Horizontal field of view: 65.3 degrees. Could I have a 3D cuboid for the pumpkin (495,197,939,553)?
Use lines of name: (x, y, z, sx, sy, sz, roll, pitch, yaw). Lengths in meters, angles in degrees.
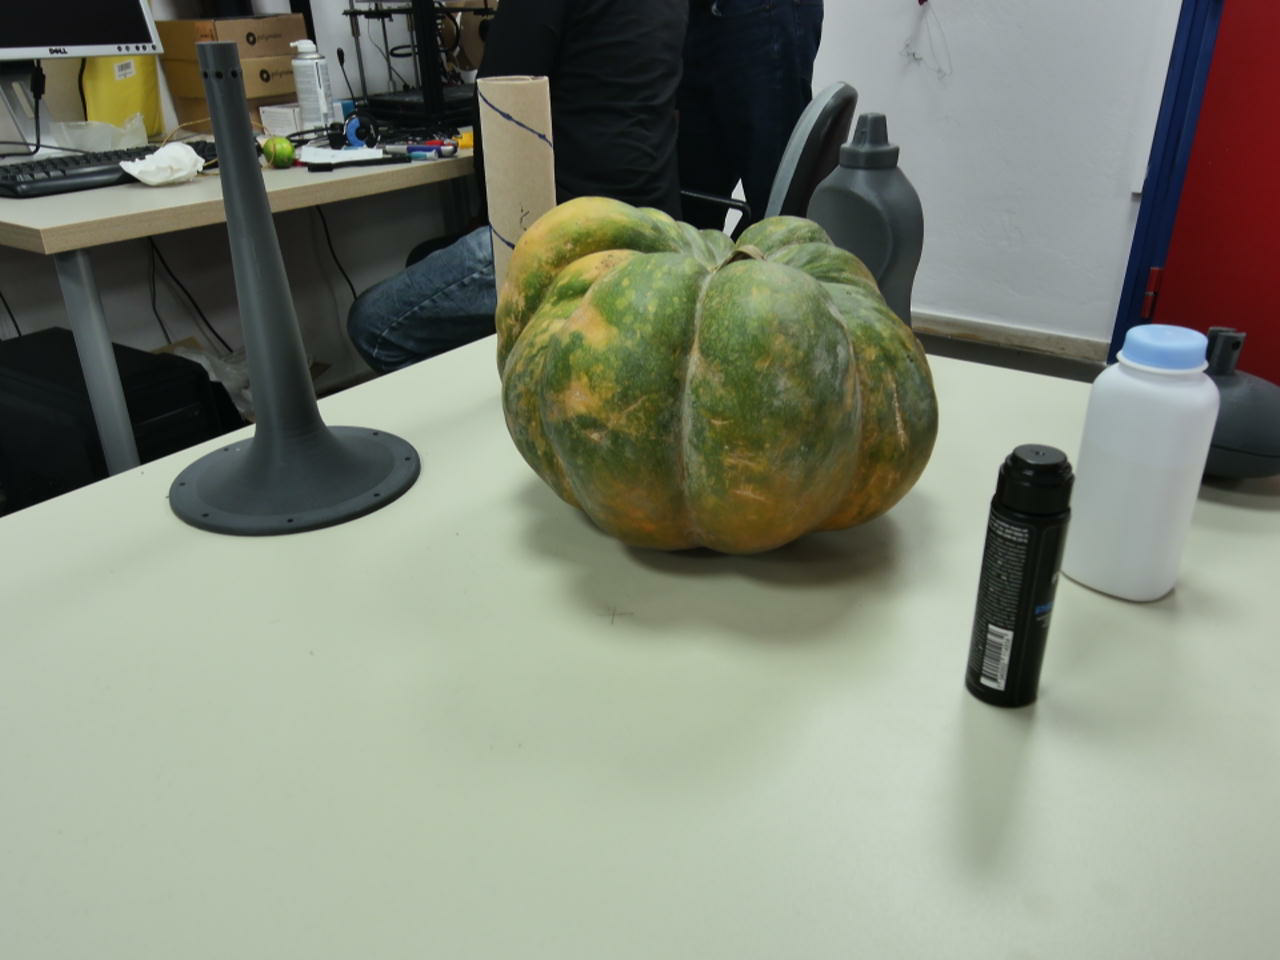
pumpkin: (0.041, -0.064, 0.558, 0.237, 0.173, 0.270, -6, 25, -15)
